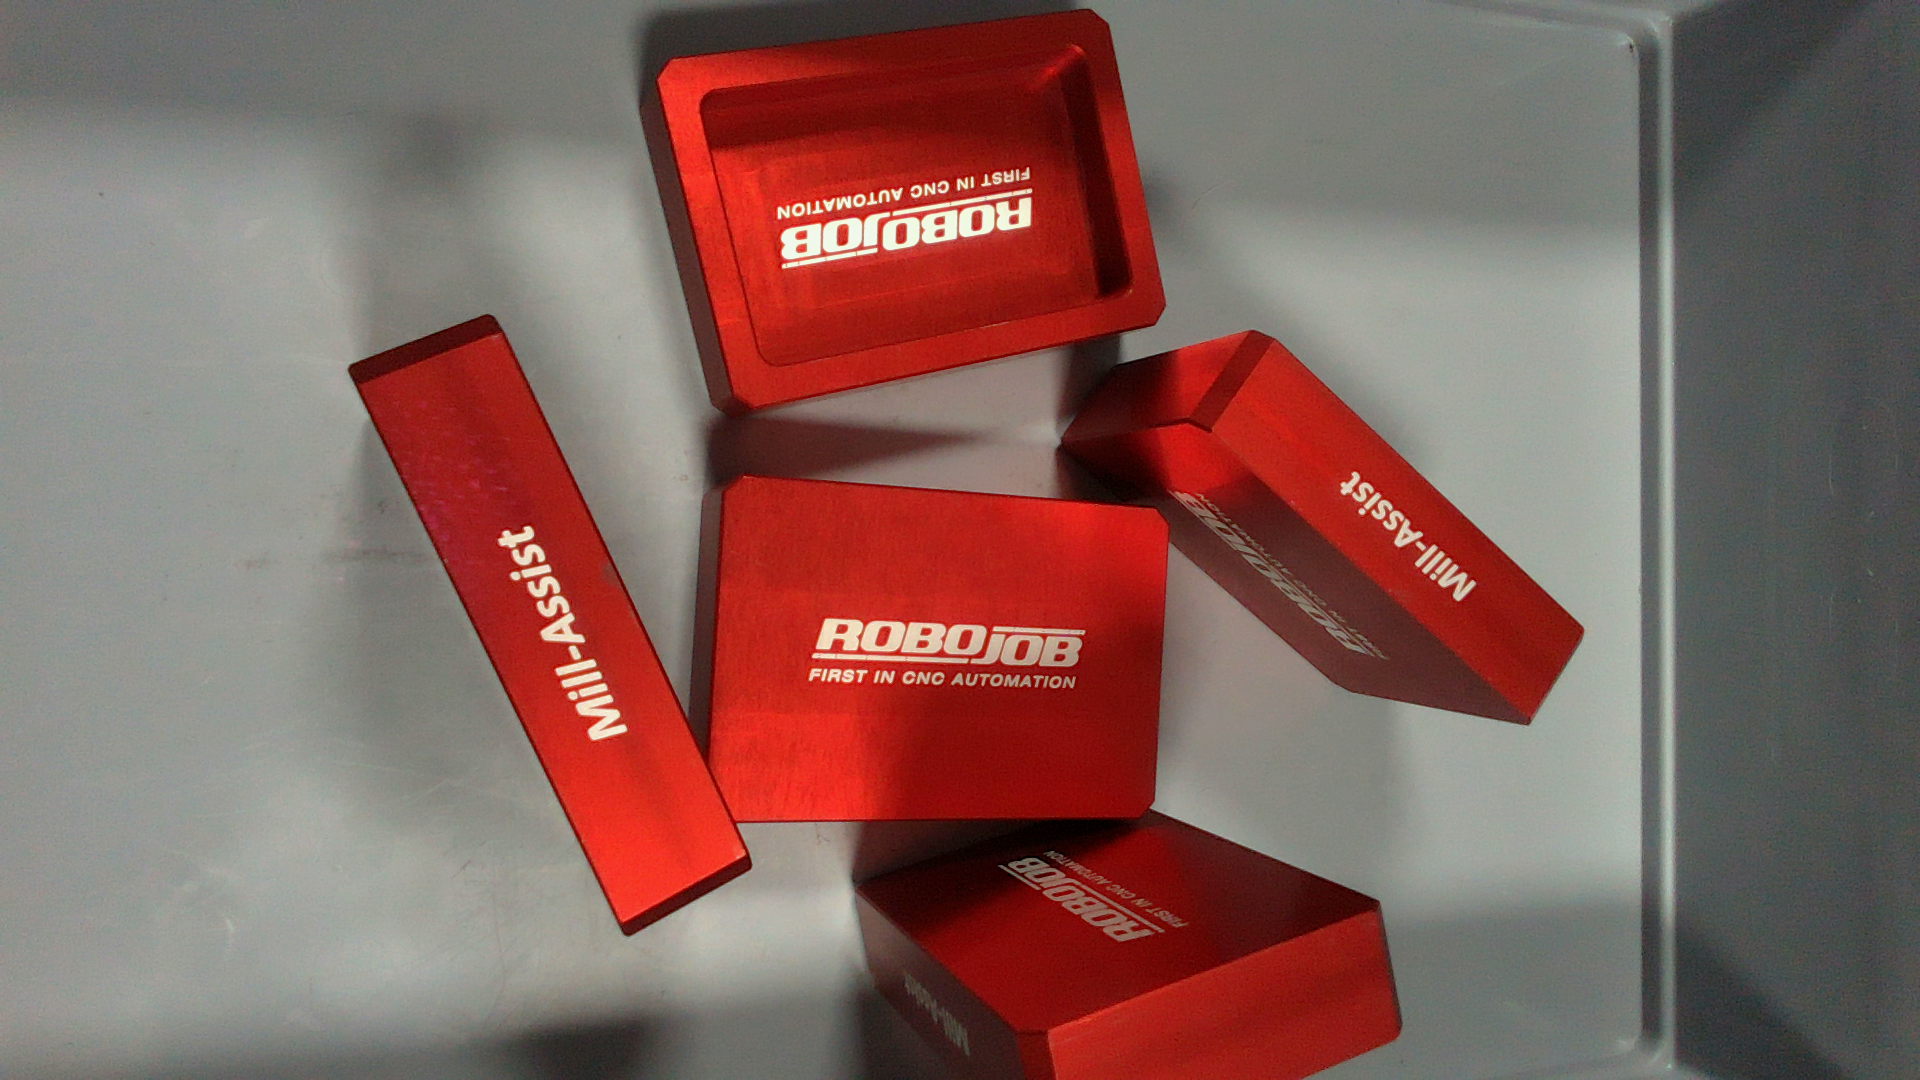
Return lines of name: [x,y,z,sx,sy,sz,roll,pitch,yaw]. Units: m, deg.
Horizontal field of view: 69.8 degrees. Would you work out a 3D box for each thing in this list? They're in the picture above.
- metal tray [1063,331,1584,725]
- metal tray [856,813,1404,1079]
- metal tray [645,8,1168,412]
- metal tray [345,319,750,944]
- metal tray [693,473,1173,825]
metal tray: [0.100,-0.001,0.393,0.130,0.090,0.030,40,78,-16]
metal tray: [0.035,0.105,0.348,0.090,0.130,0.030,-13,95,-20]
metal tray: [-0.013,-0.092,0.384,0.130,0.030,0.090,-14,95,-19]
metal tray: [-0.097,0.020,0.322,0.030,0.090,0.130,-26,99,-19]
metal tray: [-0.007,0.031,0.386,0.130,0.030,0.090,4,89,-20]
